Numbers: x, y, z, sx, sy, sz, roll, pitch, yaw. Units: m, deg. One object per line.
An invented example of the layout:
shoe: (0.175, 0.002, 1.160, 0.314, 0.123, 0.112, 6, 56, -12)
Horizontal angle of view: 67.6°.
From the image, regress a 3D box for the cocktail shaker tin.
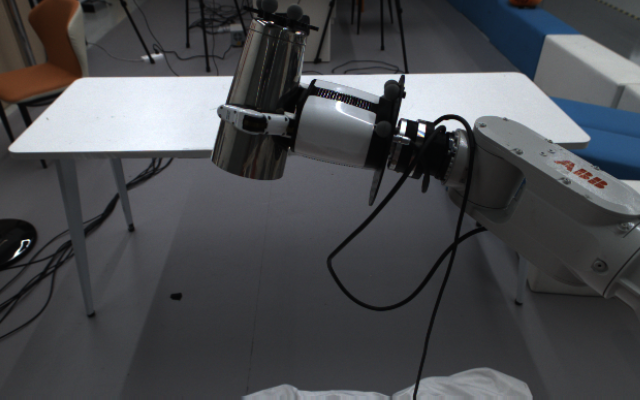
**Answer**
cocktail shaker tin: (-0.067, -0.120, 0.576, 0.093, 0.170, 0.093, 15, 20, -5)
